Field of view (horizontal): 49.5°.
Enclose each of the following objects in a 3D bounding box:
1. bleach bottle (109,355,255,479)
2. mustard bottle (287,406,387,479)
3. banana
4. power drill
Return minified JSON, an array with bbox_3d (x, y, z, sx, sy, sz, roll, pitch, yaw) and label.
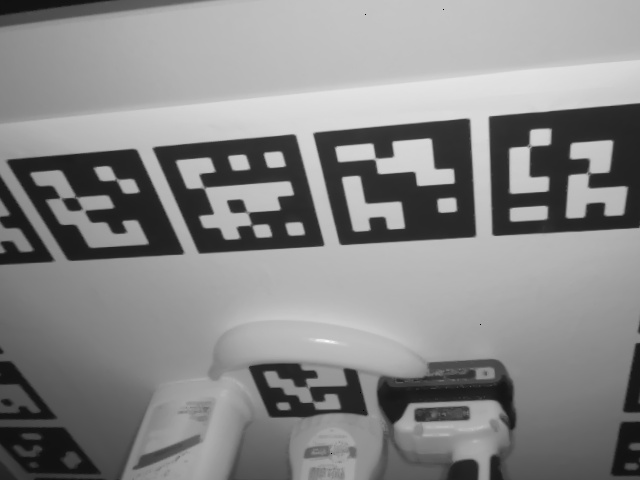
[{"bbox_3d":[-0.131,0.214,0.590,0.102,0.253,0.067,-8,126,15],"label":"bleach bottle"},{"bbox_3d":[0.007,0.242,0.622,0.096,0.193,0.058,0,129,10],"label":"mustard bottle"},{"bbox_3d":[-0.007,0.085,0.593,0.197,0.039,0.073,0,125,5],"label":"banana"},{"bbox_3d":[0.097,0.205,0.555,0.183,0.189,0.057,-2,135,13],"label":"power drill"}]
